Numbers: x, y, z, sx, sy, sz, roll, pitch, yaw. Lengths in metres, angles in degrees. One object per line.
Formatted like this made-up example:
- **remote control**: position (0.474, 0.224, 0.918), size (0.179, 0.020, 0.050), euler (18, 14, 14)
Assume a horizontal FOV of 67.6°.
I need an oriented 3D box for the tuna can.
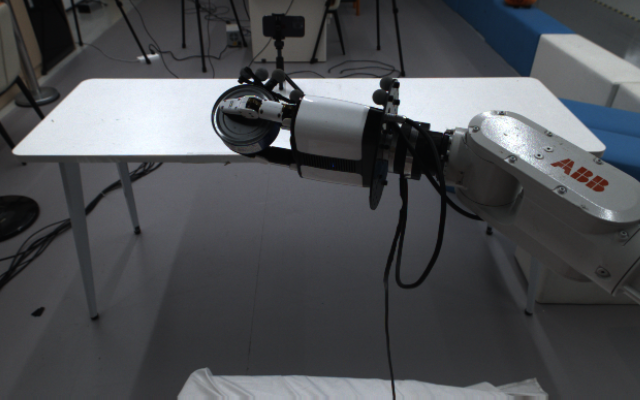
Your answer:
- **tuna can**: position (-0.094, -0.104, 0.630), size (0.085, 0.034, 0.085), euler (-2, 71, 6)
